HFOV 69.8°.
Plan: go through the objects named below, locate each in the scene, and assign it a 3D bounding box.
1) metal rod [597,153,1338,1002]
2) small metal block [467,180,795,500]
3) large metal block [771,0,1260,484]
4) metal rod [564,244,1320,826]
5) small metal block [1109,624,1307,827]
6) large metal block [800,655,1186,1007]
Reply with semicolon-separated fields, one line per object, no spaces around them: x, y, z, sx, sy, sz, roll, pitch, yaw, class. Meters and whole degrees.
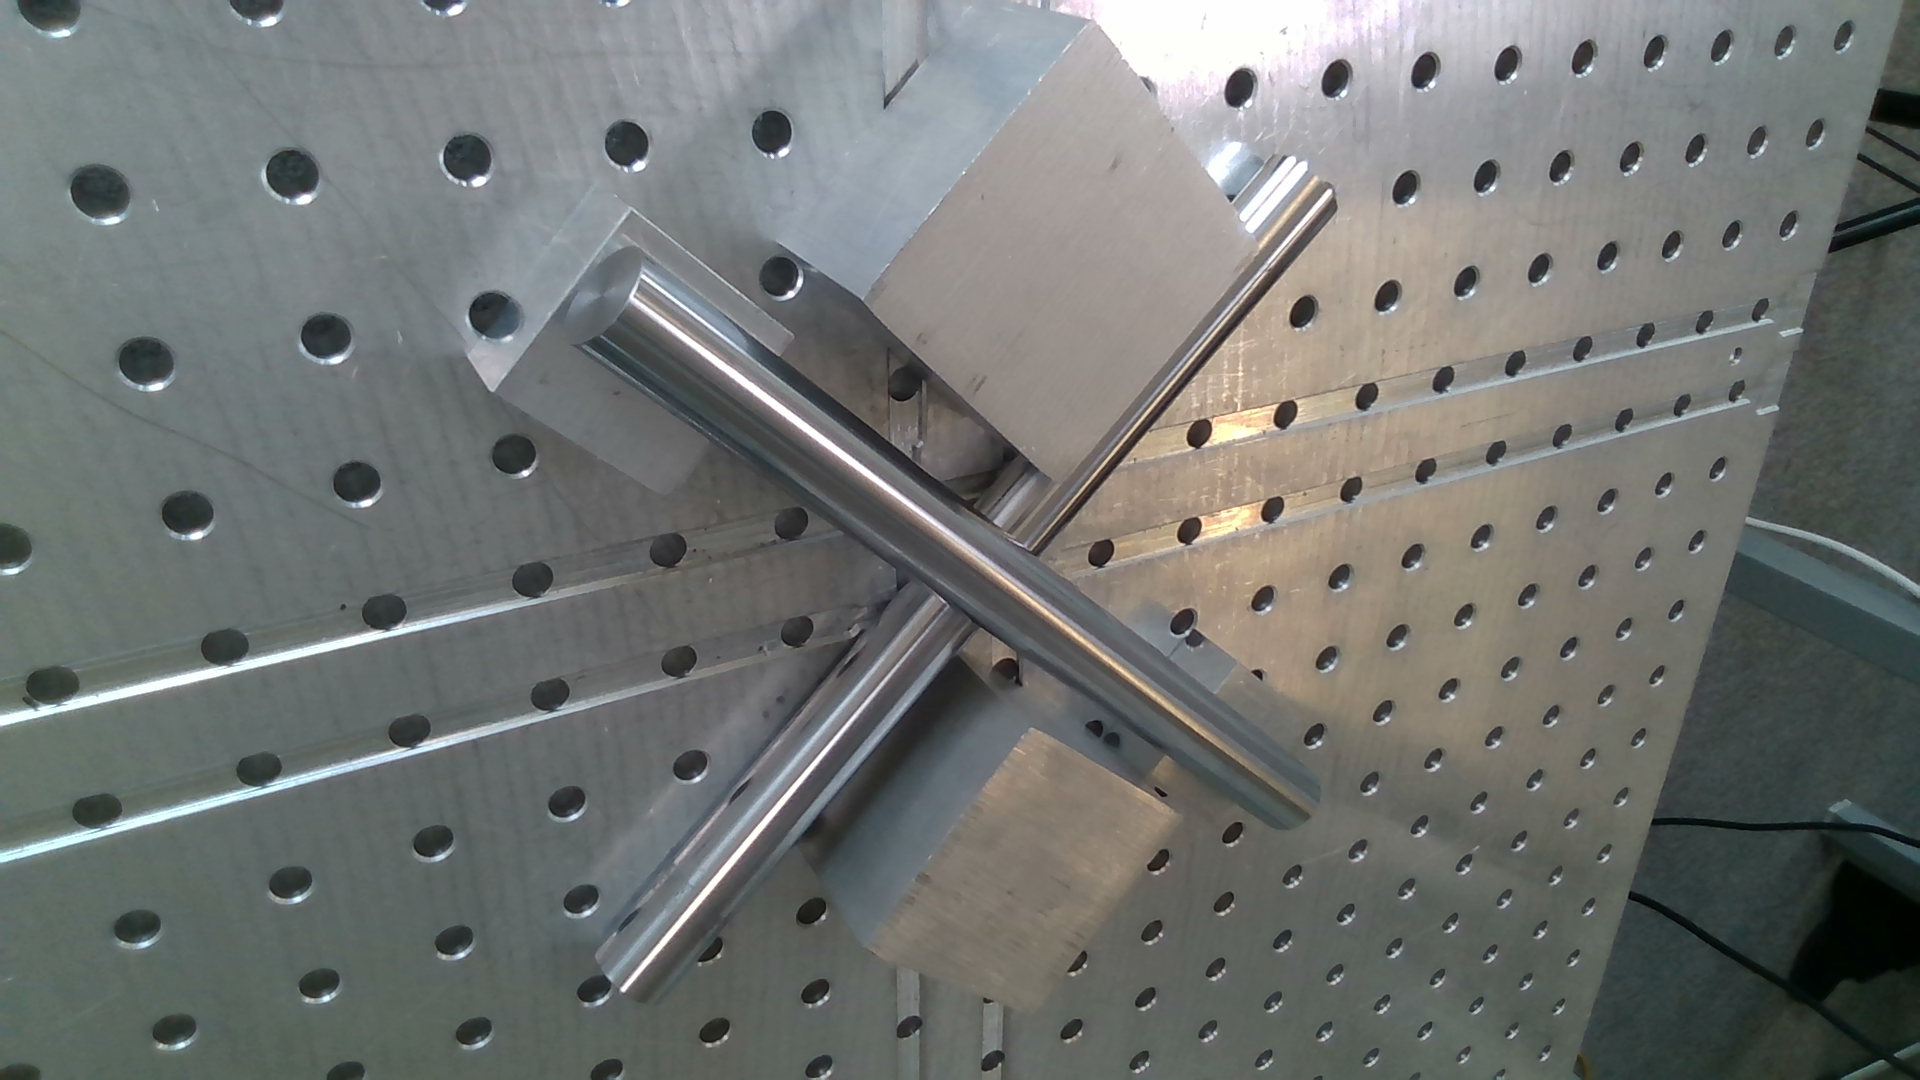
0.002;0.011;0.399;0.300;0.025;0.025;-50;129;1;metal rod
-0.076;-0.046;0.321;0.050;0.025;0.050;36;93;-39;small metal block
0.015;-0.075;0.346;0.080;0.050;0.080;-50;129;1;large metal block
0.019;0.018;0.382;0.301;0.025;0.025;36;93;-39;metal rod
0.086;0.065;0.482;0.050;0.025;0.050;-51;129;2;small metal block
0.010;0.090;0.432;0.080;0.050;0.080;34;95;-39;large metal block
